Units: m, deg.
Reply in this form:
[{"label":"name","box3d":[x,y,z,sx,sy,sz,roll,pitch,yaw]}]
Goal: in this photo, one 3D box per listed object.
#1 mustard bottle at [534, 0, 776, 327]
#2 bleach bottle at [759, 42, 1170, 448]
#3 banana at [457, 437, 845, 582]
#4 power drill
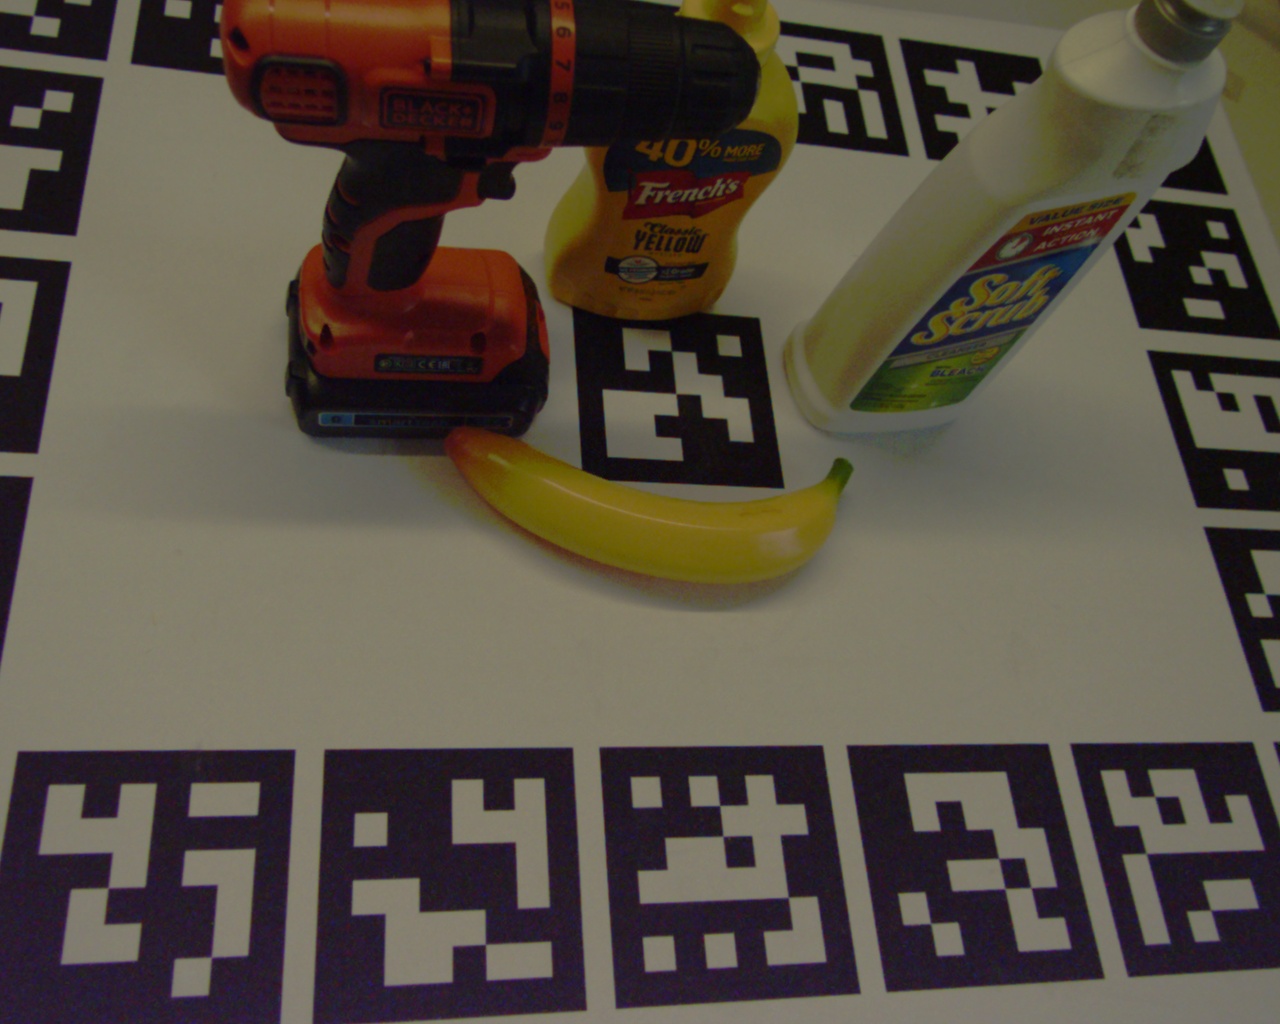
[{"label":"mustard bottle","box3d":[0.012,-0.164,0.548,0.095,0.192,0.058,3,65,-16]},{"label":"bleach bottle","box3d":[0.147,-0.116,0.536,0.102,0.251,0.068,-6,68,-18]},{"label":"banana","box3d":[0.009,-0.003,0.555,0.196,0.039,0.074,4,68,-11]},{"label":"power drill","box3d":[-0.077,-0.120,0.483,0.183,0.187,0.058,0,59,-18]}]
